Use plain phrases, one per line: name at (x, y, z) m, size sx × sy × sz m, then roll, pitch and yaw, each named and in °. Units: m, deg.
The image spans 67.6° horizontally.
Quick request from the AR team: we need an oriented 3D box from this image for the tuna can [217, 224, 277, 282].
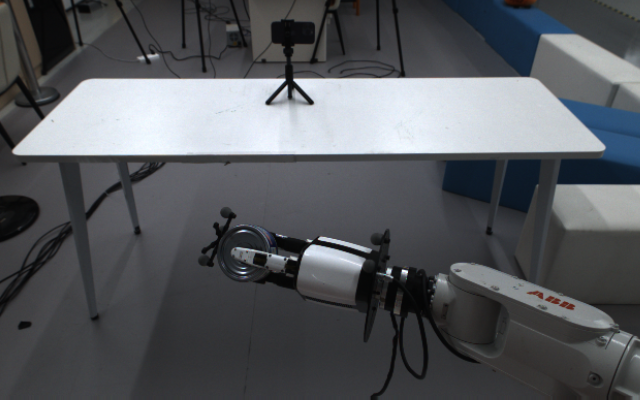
tuna can at (-0.106, 0.078, 0.715) m, size 0.085 × 0.085 × 0.034 m, roll 12°, pitch -4°, yaw 14°
